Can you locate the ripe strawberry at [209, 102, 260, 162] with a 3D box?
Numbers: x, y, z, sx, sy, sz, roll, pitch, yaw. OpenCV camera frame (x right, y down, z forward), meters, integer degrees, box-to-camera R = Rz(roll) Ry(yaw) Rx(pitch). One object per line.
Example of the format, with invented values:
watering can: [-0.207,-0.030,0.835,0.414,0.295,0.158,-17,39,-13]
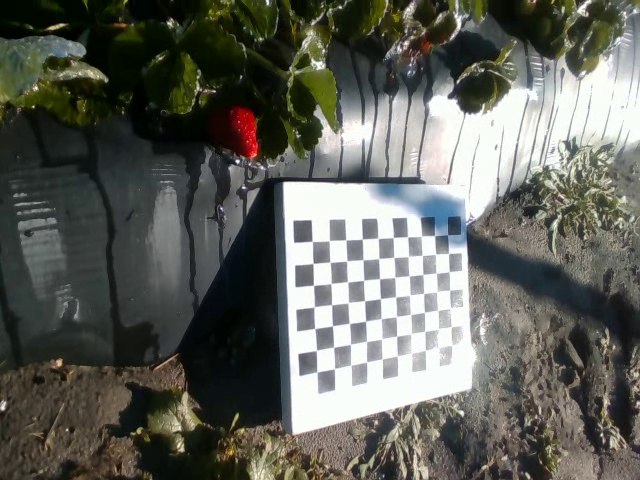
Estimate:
ripe strawberry: [-0.063,-0.083,0.478,0.041,0.053,0.047,-11,-32,-35]
